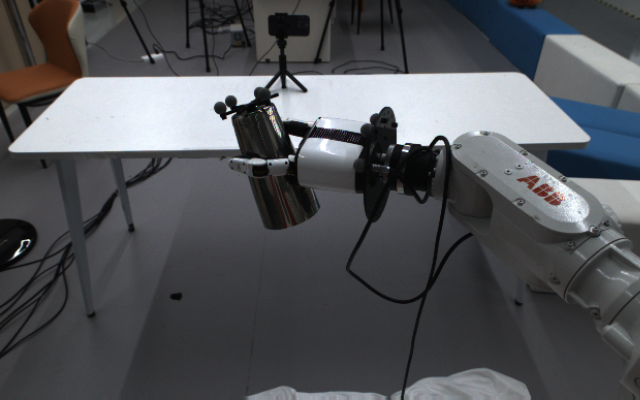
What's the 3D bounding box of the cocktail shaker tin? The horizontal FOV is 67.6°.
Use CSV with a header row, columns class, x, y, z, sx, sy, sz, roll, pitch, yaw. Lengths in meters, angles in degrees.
class,x,y,z,sx,sy,sz,roll,pitch,yaw
cocktail shaker tin,-0.070,-0.052,0.715,0.093,0.170,0.093,-17,20,7
